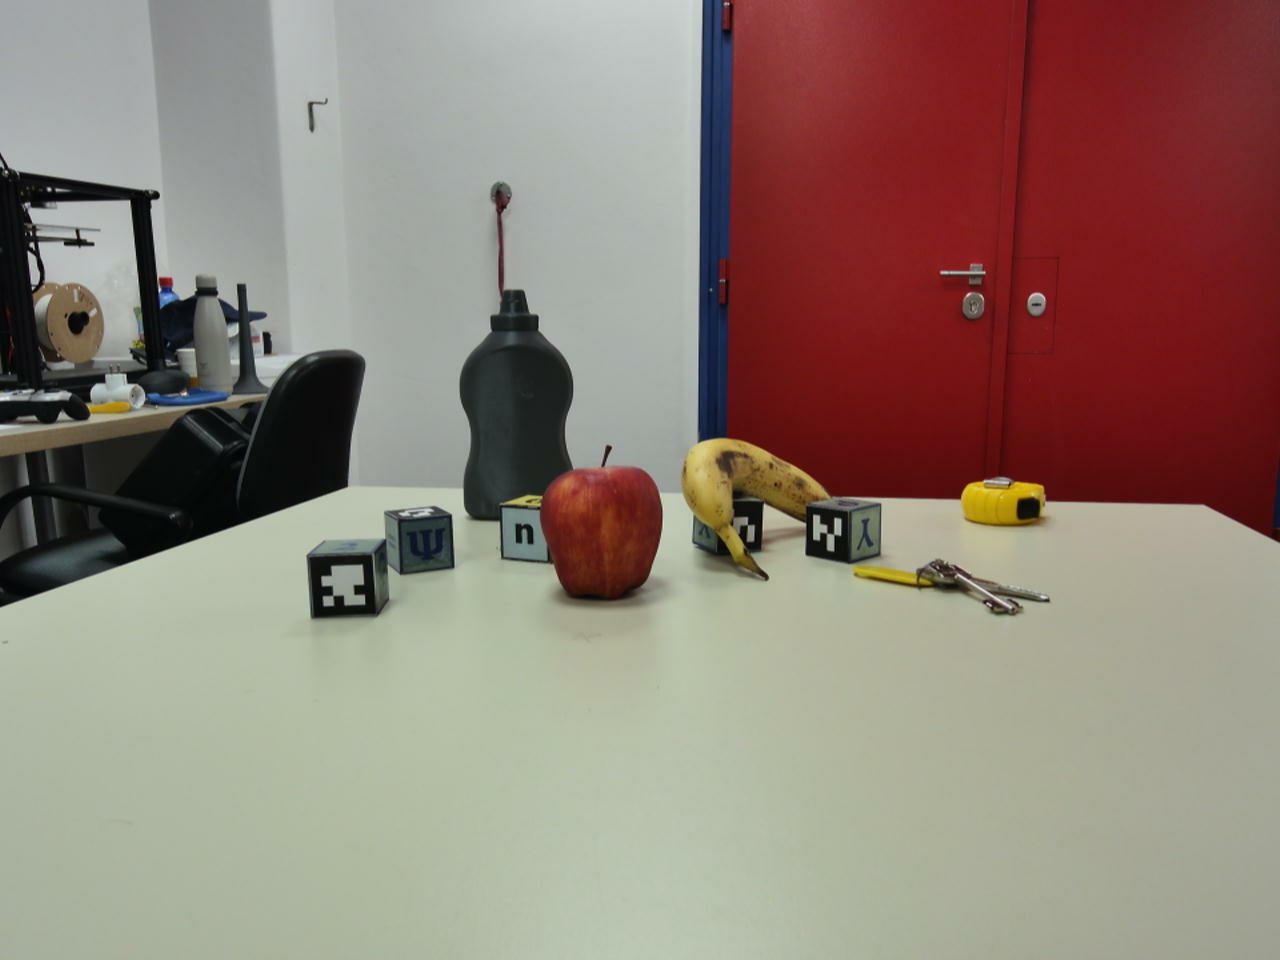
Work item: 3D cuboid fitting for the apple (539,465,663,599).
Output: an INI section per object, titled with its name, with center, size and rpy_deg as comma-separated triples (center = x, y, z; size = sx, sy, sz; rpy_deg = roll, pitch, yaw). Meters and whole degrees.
[apple]
center = -0.024, 0.025, 0.610
size = 0.083, 0.090, 0.083
rpy_deg = -2, 7, 0
